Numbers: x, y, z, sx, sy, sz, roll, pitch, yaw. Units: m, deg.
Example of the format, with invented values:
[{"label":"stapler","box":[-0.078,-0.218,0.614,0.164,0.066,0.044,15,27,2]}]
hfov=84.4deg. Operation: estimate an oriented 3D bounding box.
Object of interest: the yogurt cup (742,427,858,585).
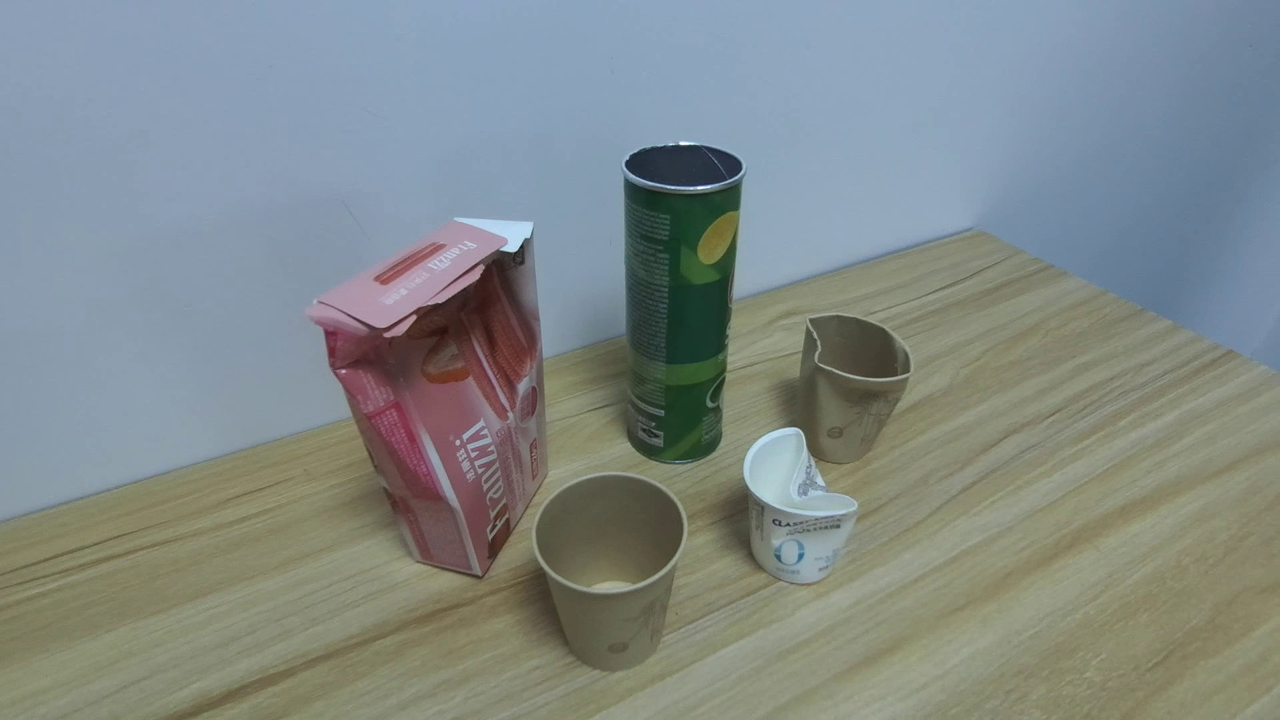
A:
[{"label":"yogurt cup","box":[0.089,0.087,0.404,0.067,0.070,0.067,1,39,0]}]

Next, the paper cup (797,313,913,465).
[{"label":"paper cup","box":[0.141,0.022,0.482,0.066,0.084,0.071,3,36,5]}]

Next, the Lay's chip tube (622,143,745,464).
[{"label":"Lay's chip tube","box":[0.025,-0.030,0.451,0.071,0.203,0.071,0,37,0]}]

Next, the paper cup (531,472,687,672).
[{"label":"paper cup","box":[-0.014,0.113,0.363,0.075,0.082,0.075,1,37,0]}]

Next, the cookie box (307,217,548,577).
[{"label":"cookie box","box":[-0.099,0.027,0.393,0.055,0.184,0.118,15,40,20]}]
